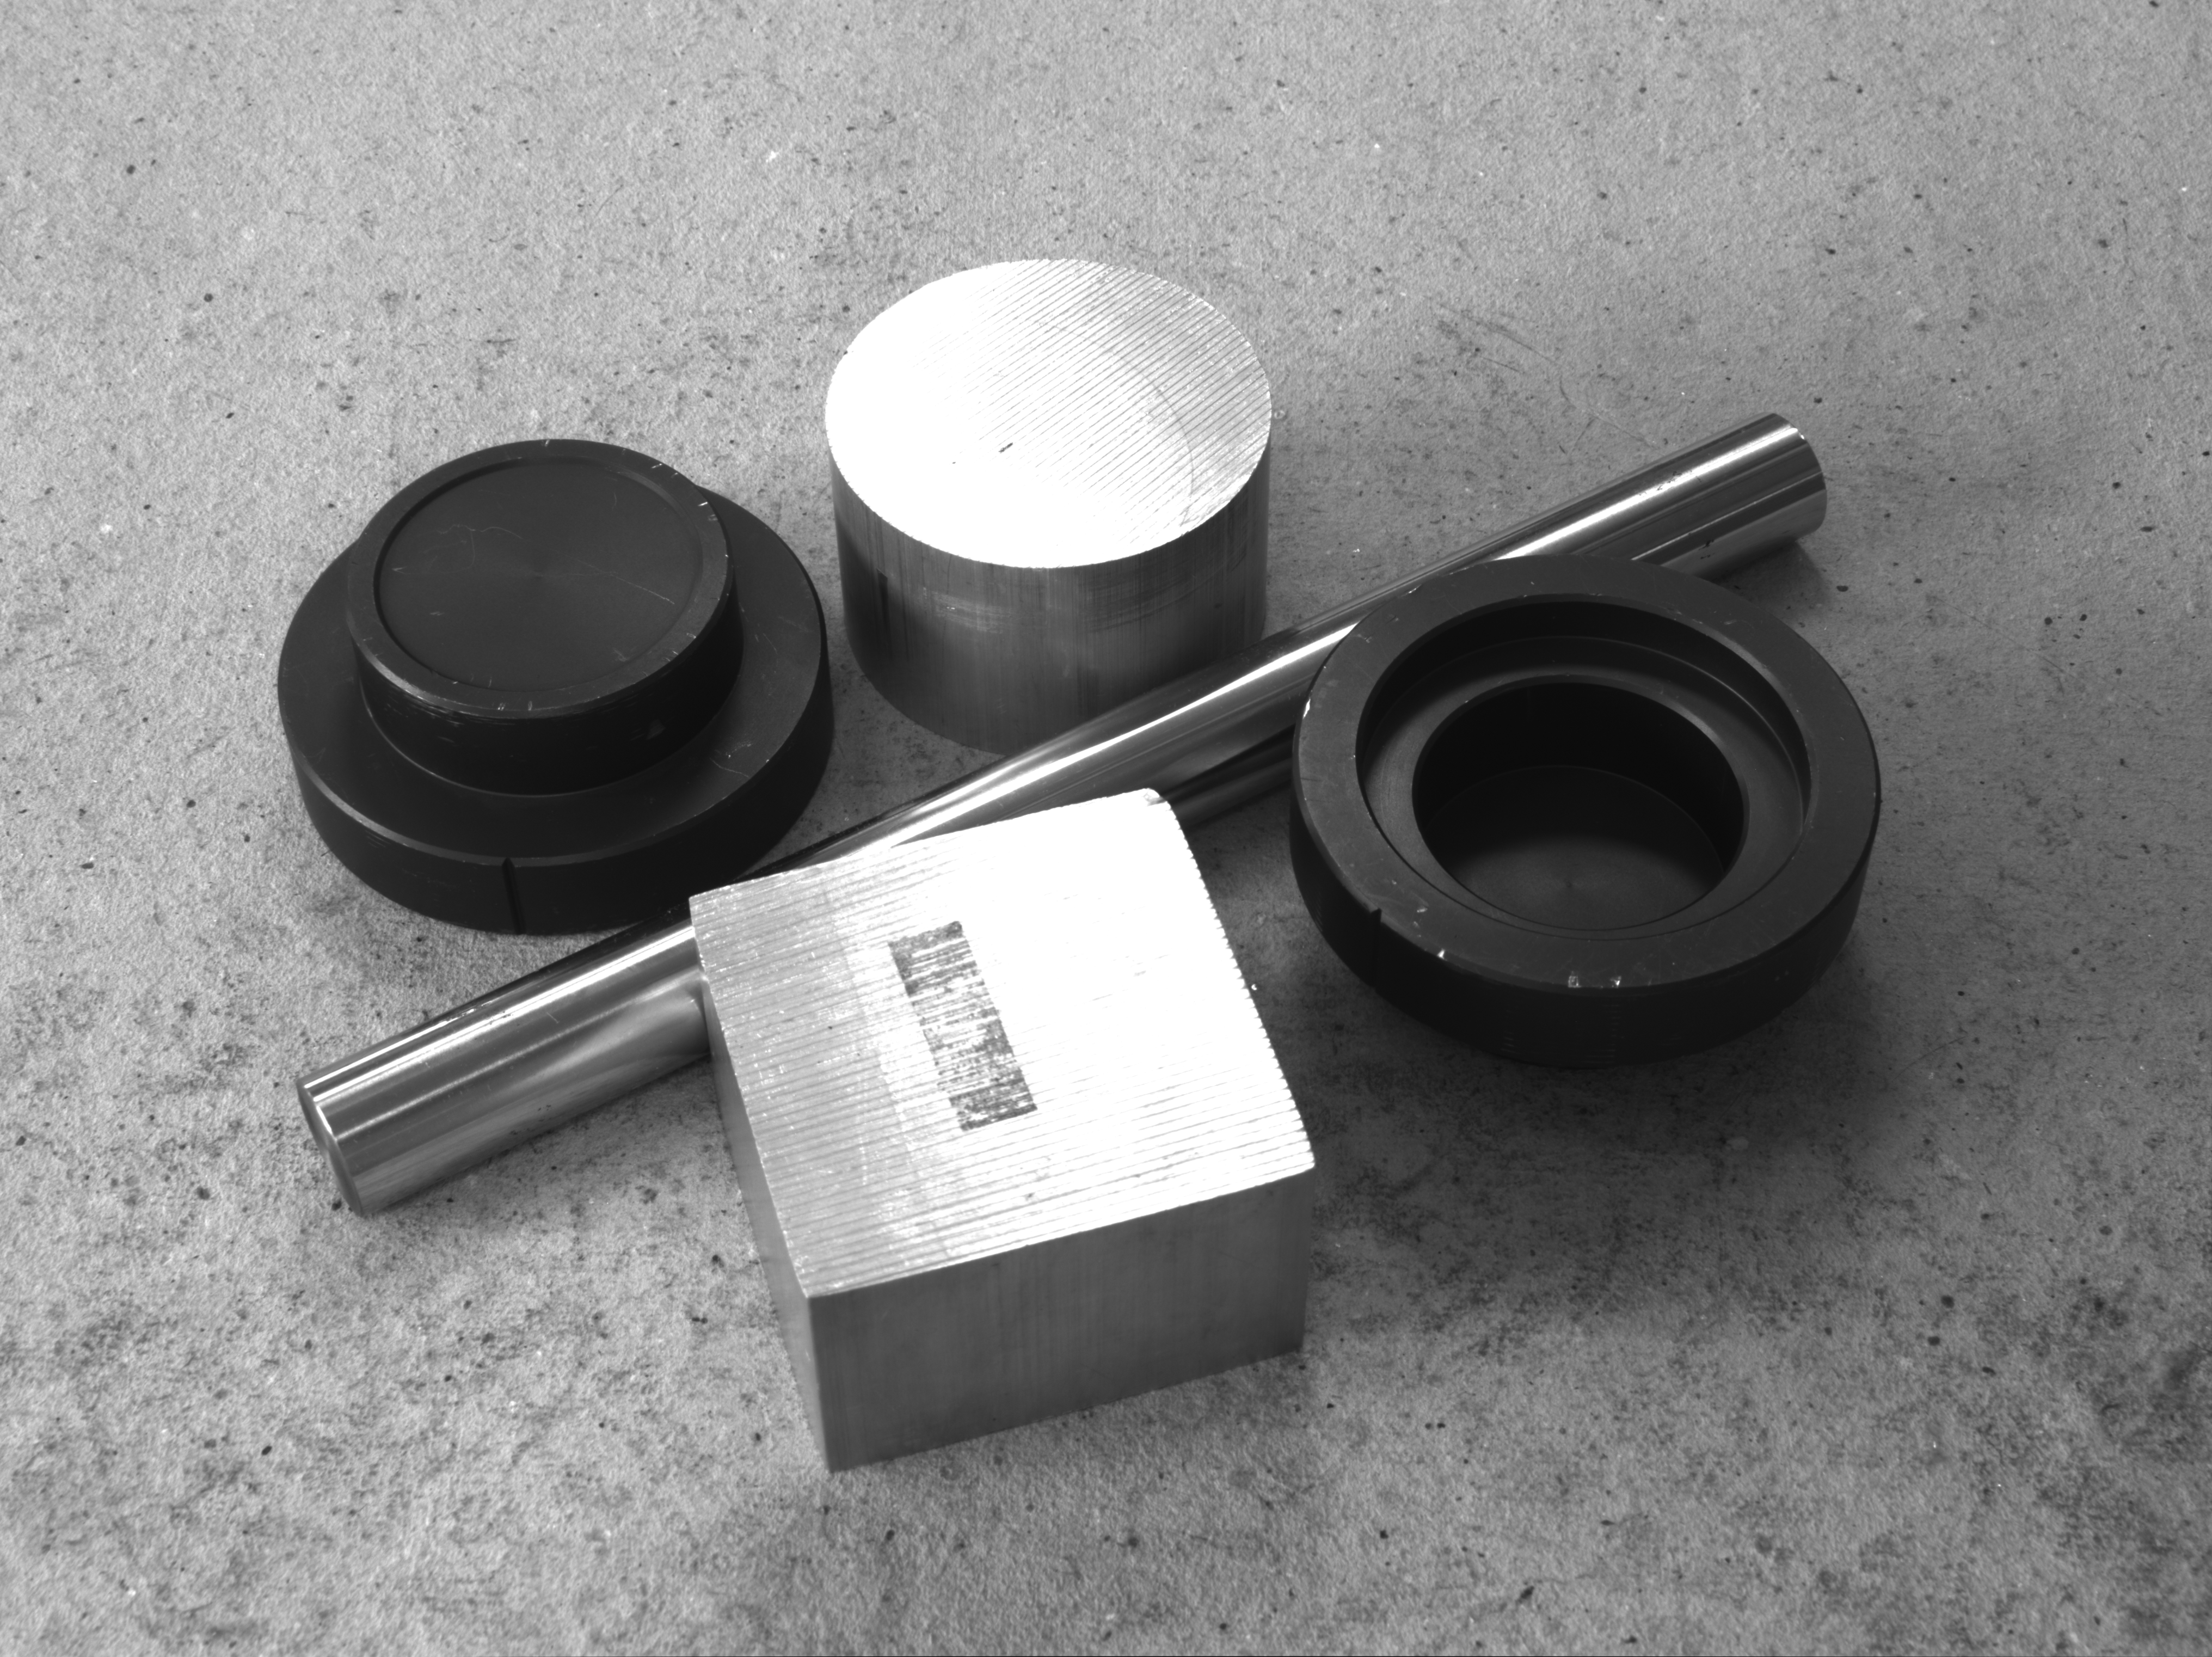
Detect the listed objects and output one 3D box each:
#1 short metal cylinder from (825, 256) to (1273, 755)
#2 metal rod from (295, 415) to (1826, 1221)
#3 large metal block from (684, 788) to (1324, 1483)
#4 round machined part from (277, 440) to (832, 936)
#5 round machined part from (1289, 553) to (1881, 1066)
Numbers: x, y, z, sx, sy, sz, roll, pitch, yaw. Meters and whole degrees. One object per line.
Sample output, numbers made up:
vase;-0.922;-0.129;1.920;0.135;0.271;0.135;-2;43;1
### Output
short metal cylinder;-0.010;-0.060;0.676;0.080;0.050;0.080;0;50;0
metal rod;0.001;-0.007;0.650;0.300;0.025;0.025;-25;54;-20
large metal block;-0.017;0.048;0.587;0.080;0.050;0.080;-13;51;-11
round machined part;-0.099;-0.031;0.658;0.098;0.042;0.098;0;50;0
round machined part;0.080;0.002;0.630;0.098;0.042;0.098;0;50;0
